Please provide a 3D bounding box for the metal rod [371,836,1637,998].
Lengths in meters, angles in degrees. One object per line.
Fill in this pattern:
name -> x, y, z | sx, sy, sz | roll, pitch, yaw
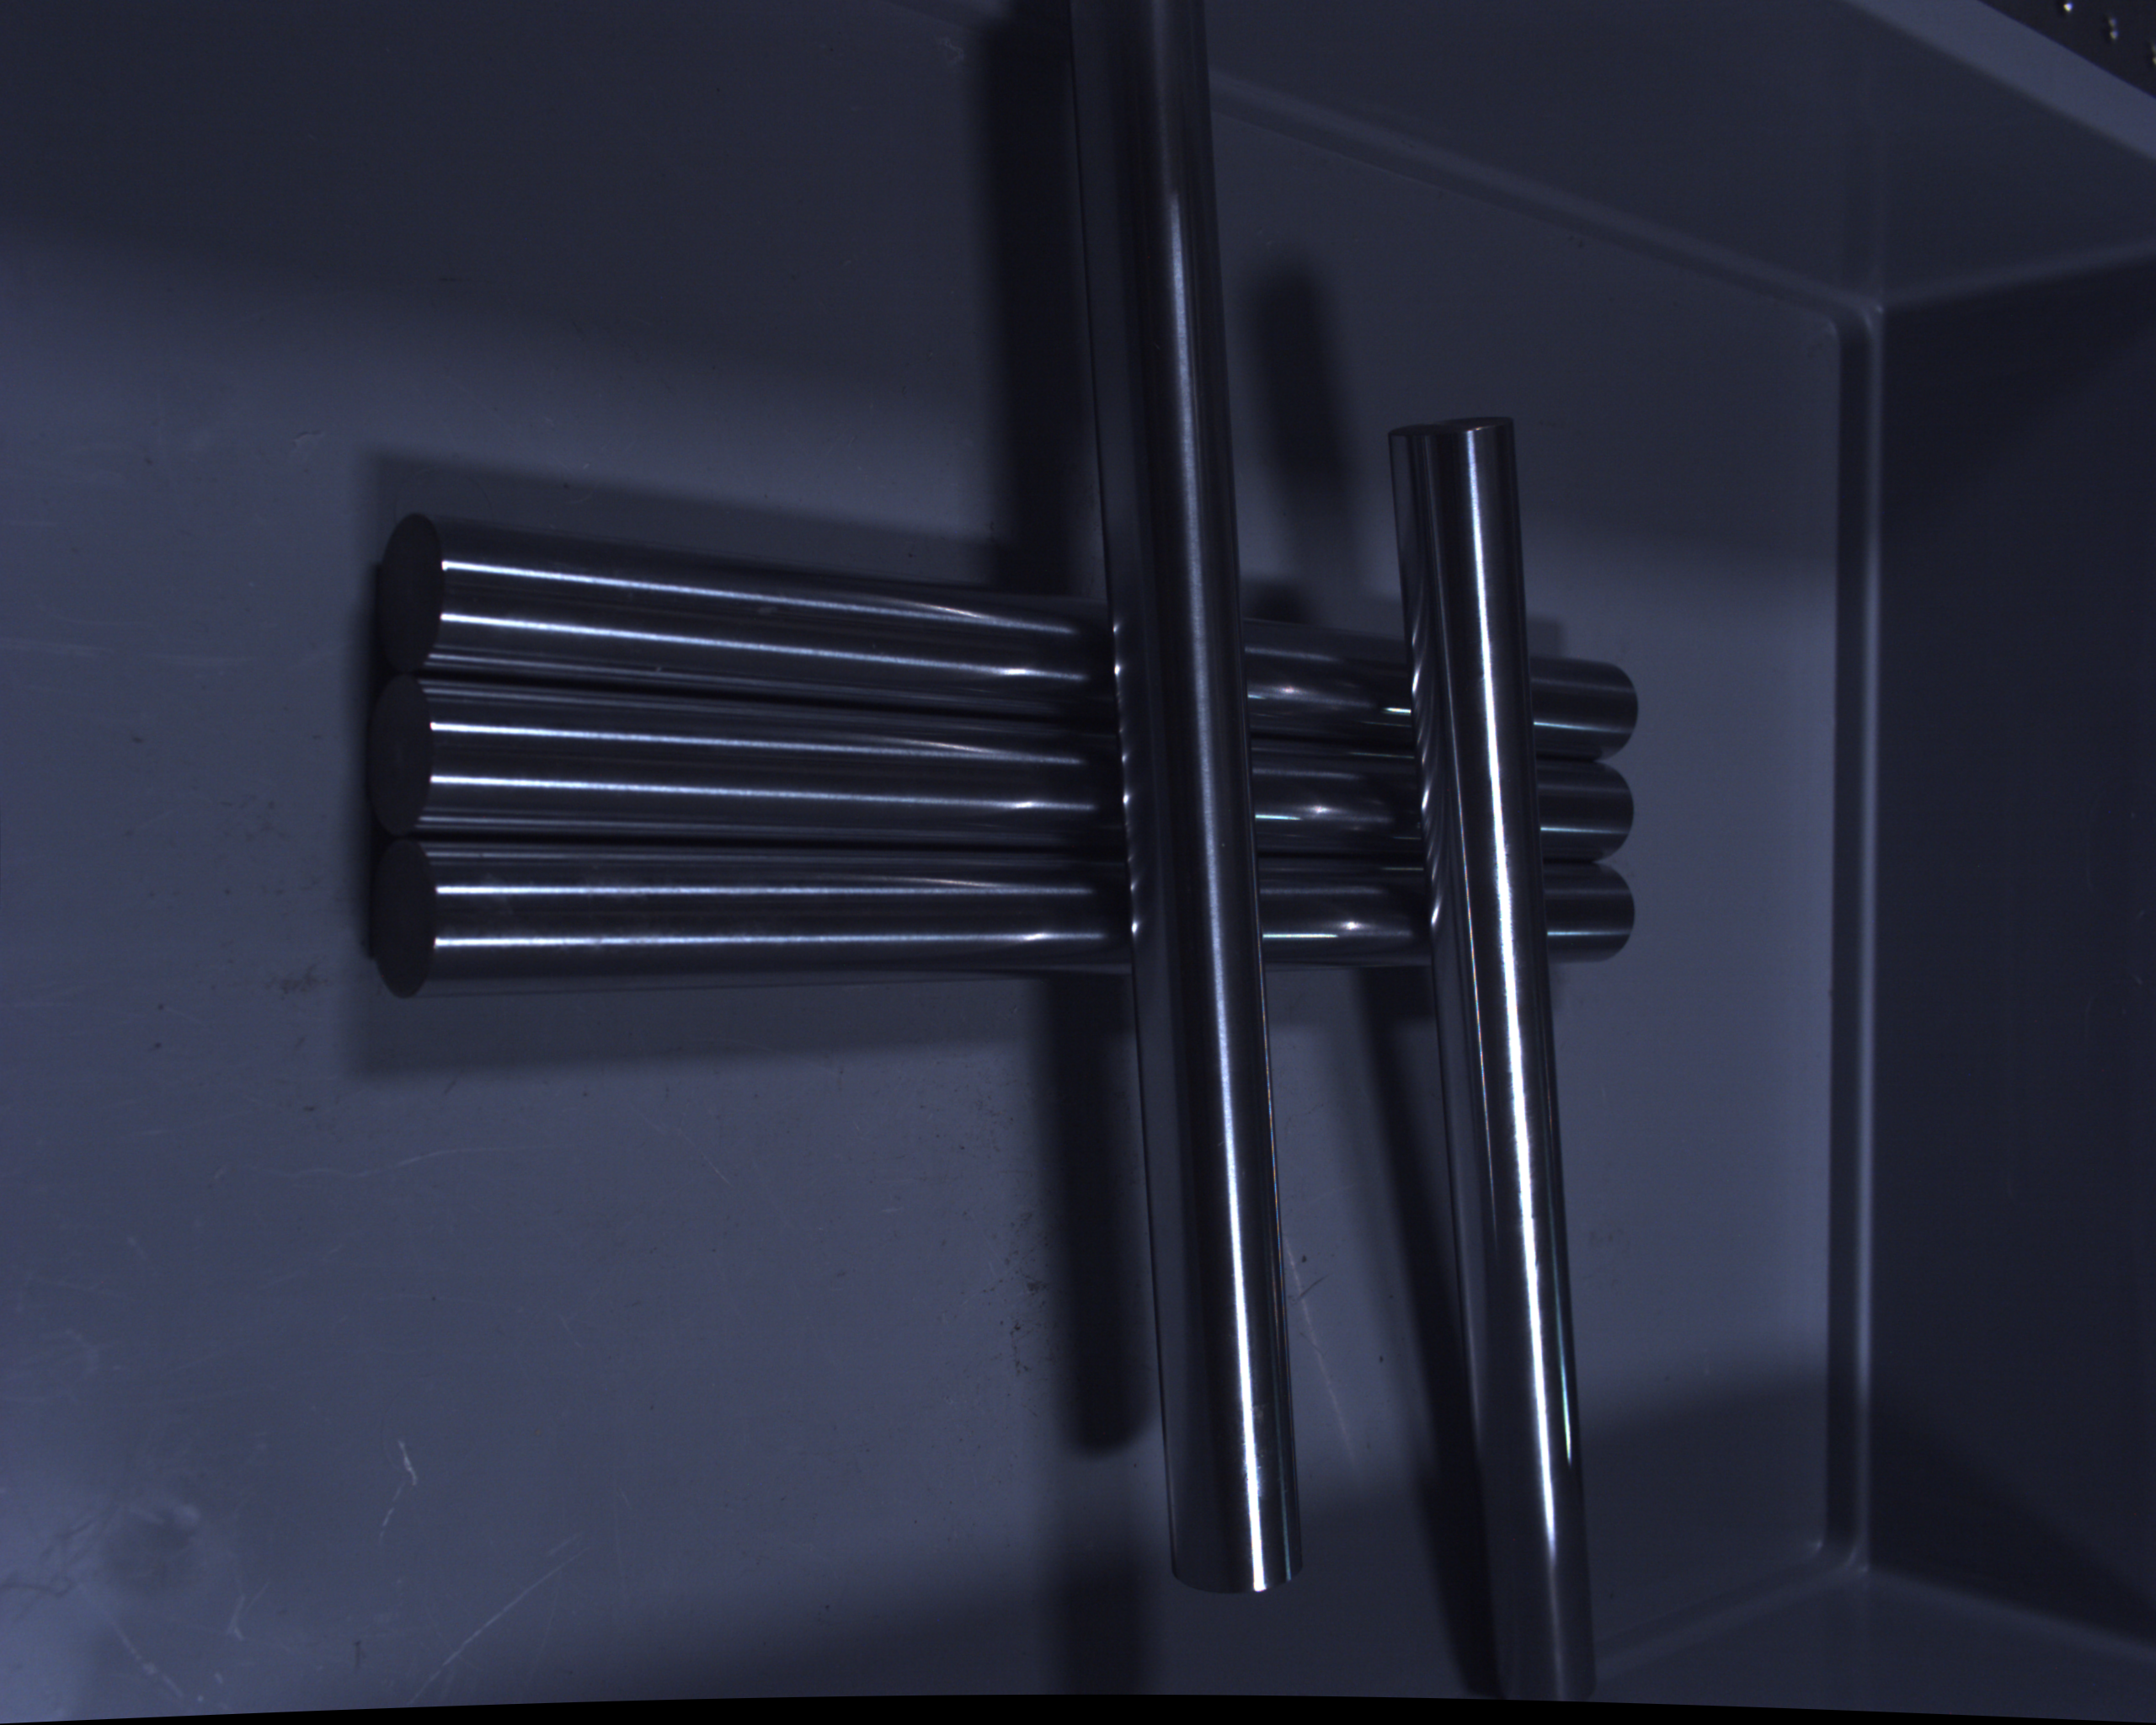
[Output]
metal rod -> 0.012, 0.010, 0.417 | 0.302, 0.025, 0.025 | 1, 90, -40

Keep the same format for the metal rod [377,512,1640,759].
metal rod -> 0.013, -0.039, 0.418 | 0.302, 0.025, 0.025 | 1, 90, -40

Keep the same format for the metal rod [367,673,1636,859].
metal rod -> 0.012, -0.015, 0.417 | 0.302, 0.025, 0.025 | 1, 90, -40

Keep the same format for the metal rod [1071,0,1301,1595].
metal rod -> 0.021, -0.013, 0.391 | 0.025, 0.025, 0.298 | -7, 94, -40

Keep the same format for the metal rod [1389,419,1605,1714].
metal rod -> 0.095, 0.054, 0.461 | 0.025, 0.025, 0.298 | -20, 110, -38
